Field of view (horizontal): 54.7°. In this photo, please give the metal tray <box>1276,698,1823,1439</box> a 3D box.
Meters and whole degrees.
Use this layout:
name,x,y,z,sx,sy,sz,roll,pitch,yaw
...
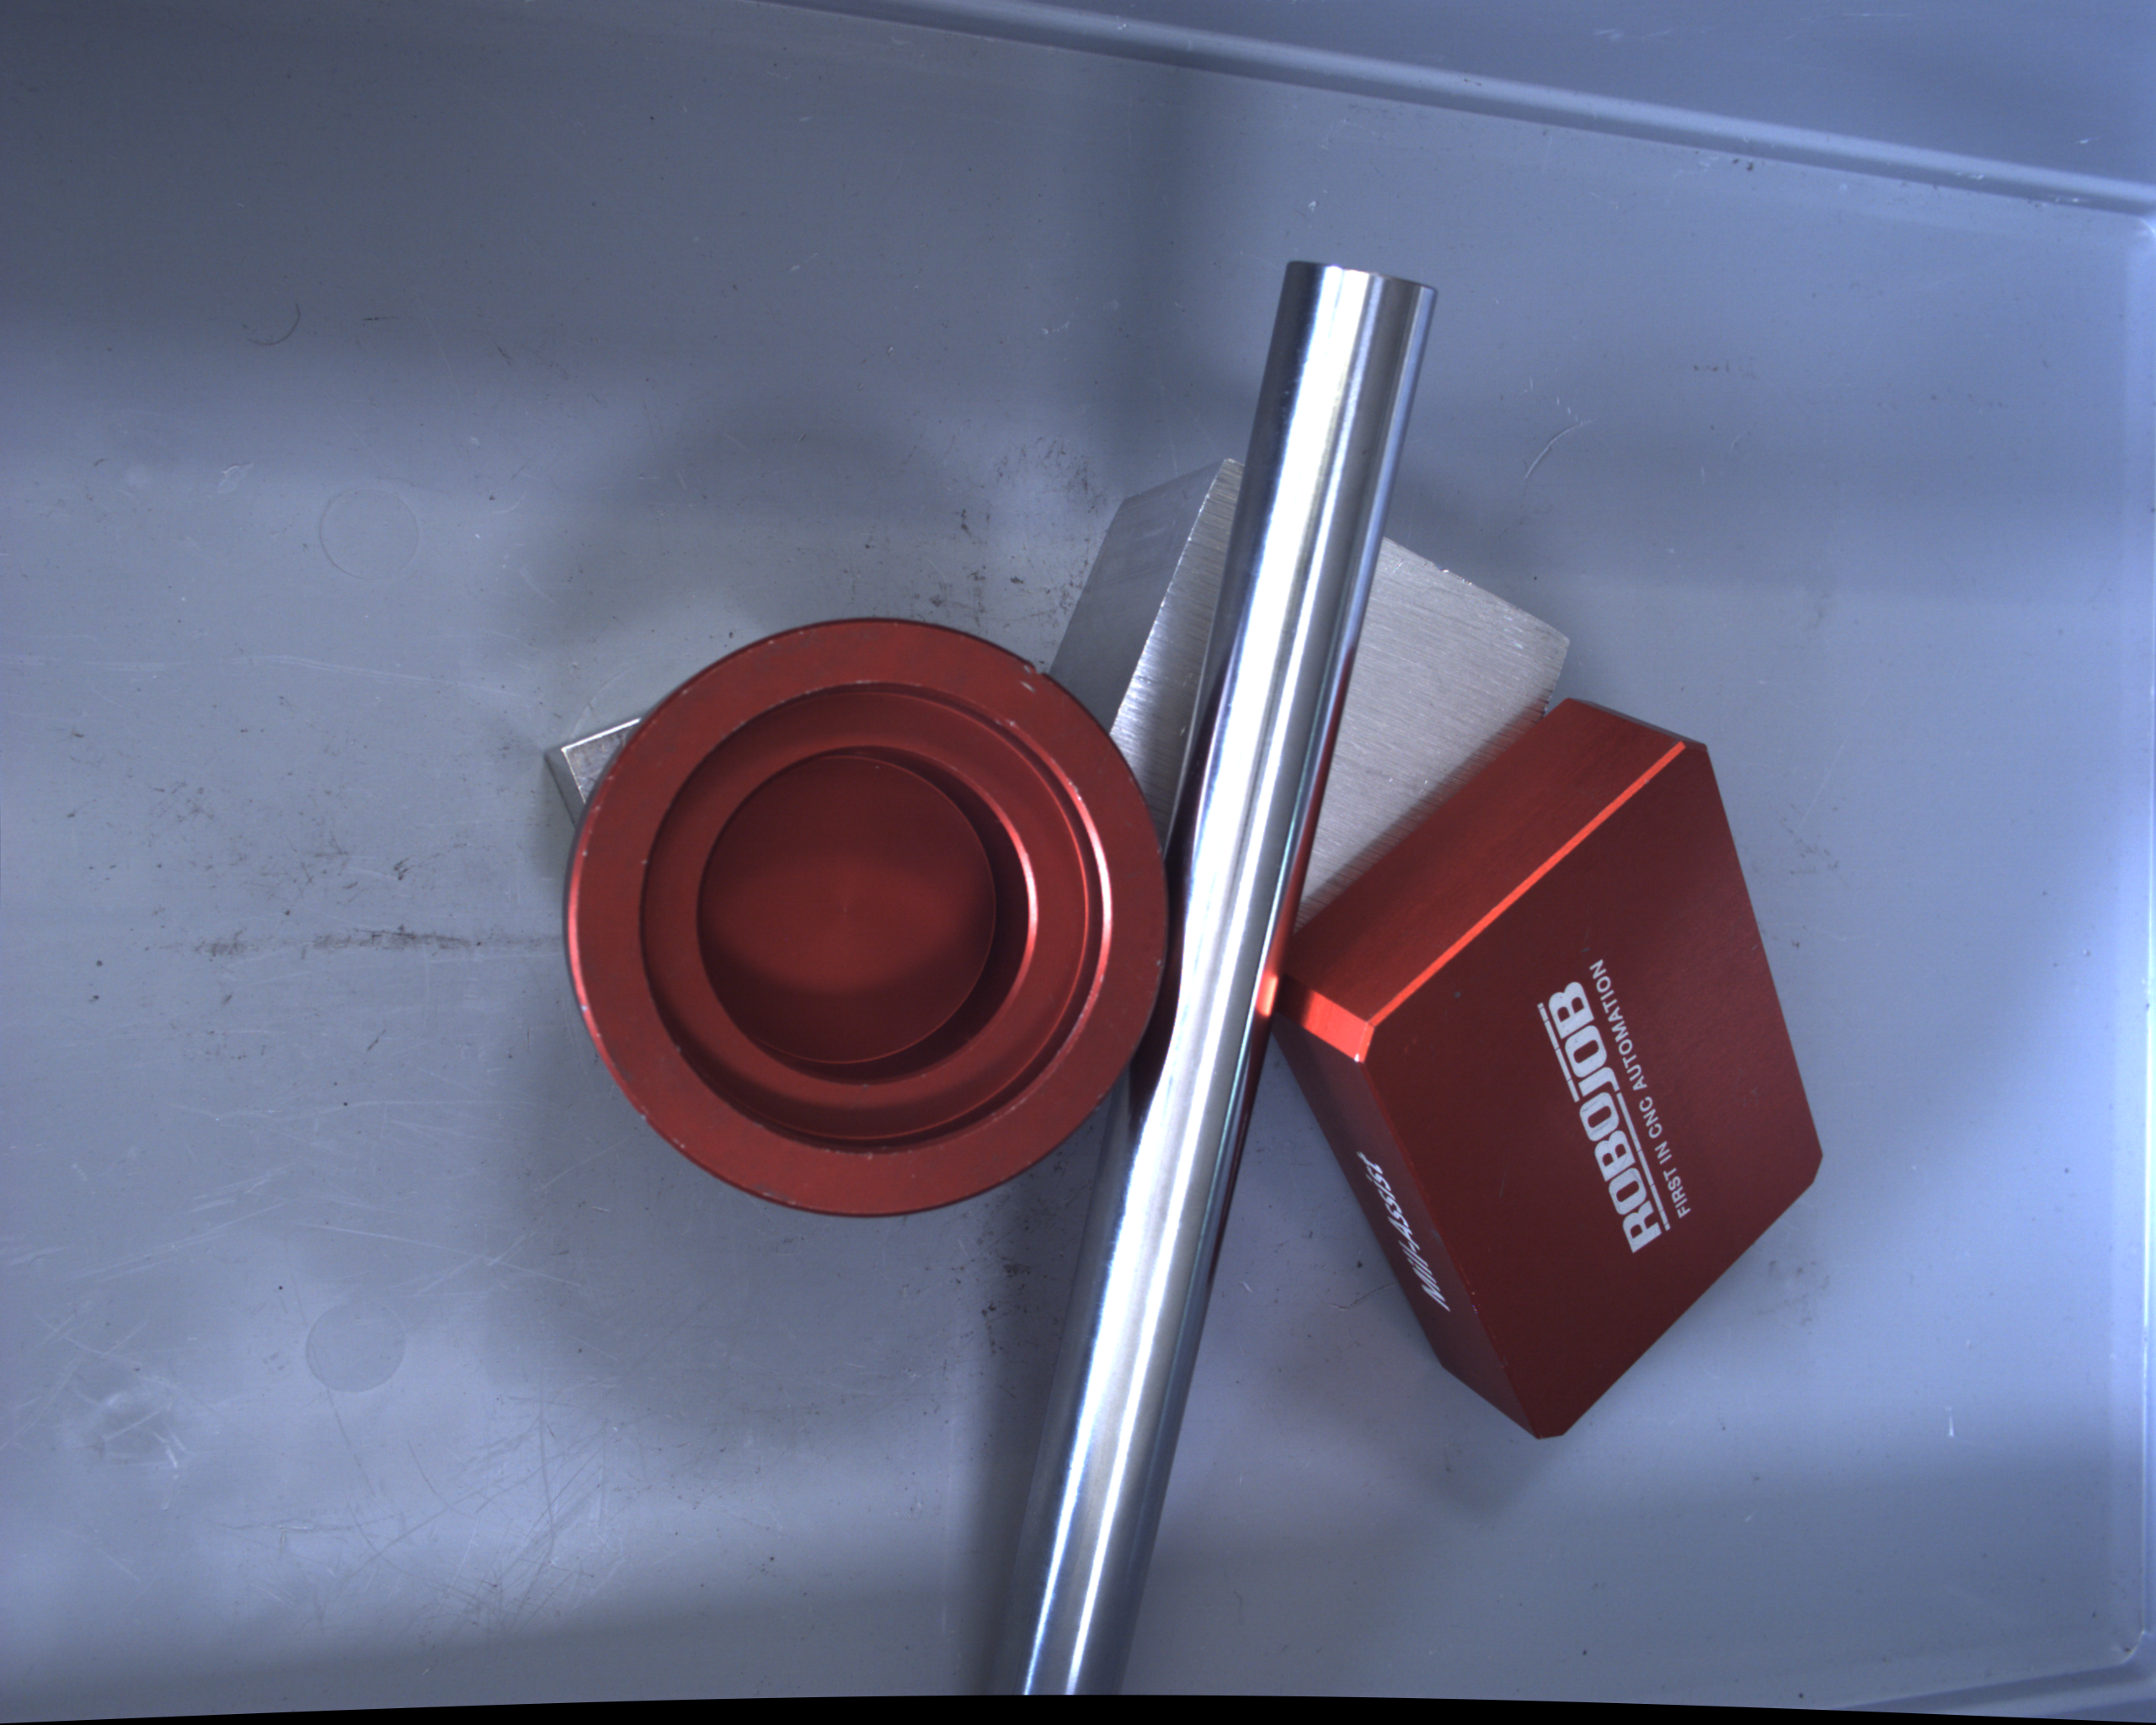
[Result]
name,x,y,z,sx,sy,sz,roll,pitch,yaw
metal tray,0.097,0.044,0.415,0.090,0.030,0.130,-40,128,-15

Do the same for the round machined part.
name,x,y,z,sx,sy,sz,roll,pitch,yaw
round machined part,-0.038,0.009,0.357,0.099,0.042,0.097,0,91,-17

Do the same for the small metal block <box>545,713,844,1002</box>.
name,x,y,z,sx,sy,sz,roll,pitch,yaw
small metal block,-0.064,-0.006,0.386,0.050,0.025,0.050,-23,98,-19

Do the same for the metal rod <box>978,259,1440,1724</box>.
name,x,y,z,sx,sy,sz,roll,pitch,yaw
metal rod,0.018,0.047,0.373,0.025,0.025,0.298,7,104,-20

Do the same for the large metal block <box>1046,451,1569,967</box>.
name,x,y,z,sx,sy,sz,roll,pitch,yaw
large metal block,0.037,-0.023,0.410,0.080,0.050,0.080,24,82,-19
